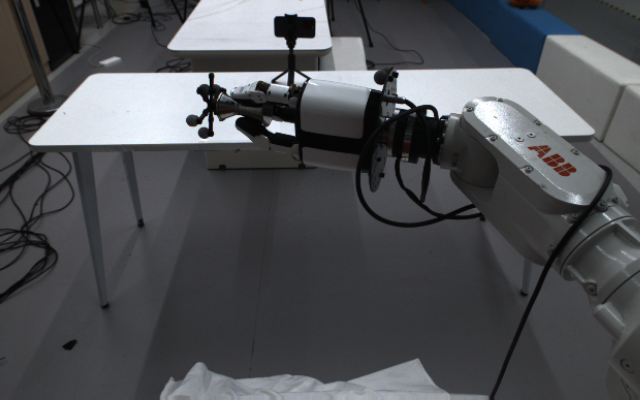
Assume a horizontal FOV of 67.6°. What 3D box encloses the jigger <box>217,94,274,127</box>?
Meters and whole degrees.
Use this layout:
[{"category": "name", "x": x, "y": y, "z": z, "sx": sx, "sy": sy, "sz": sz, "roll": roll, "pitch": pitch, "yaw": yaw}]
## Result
[{"category": "jigger", "x": -0.098, "y": -0.131, "z": 0.670, "sx": 0.071, "sy": 0.043, "sz": 0.043, "roll": 7, "pitch": 35, "yaw": 12}]
